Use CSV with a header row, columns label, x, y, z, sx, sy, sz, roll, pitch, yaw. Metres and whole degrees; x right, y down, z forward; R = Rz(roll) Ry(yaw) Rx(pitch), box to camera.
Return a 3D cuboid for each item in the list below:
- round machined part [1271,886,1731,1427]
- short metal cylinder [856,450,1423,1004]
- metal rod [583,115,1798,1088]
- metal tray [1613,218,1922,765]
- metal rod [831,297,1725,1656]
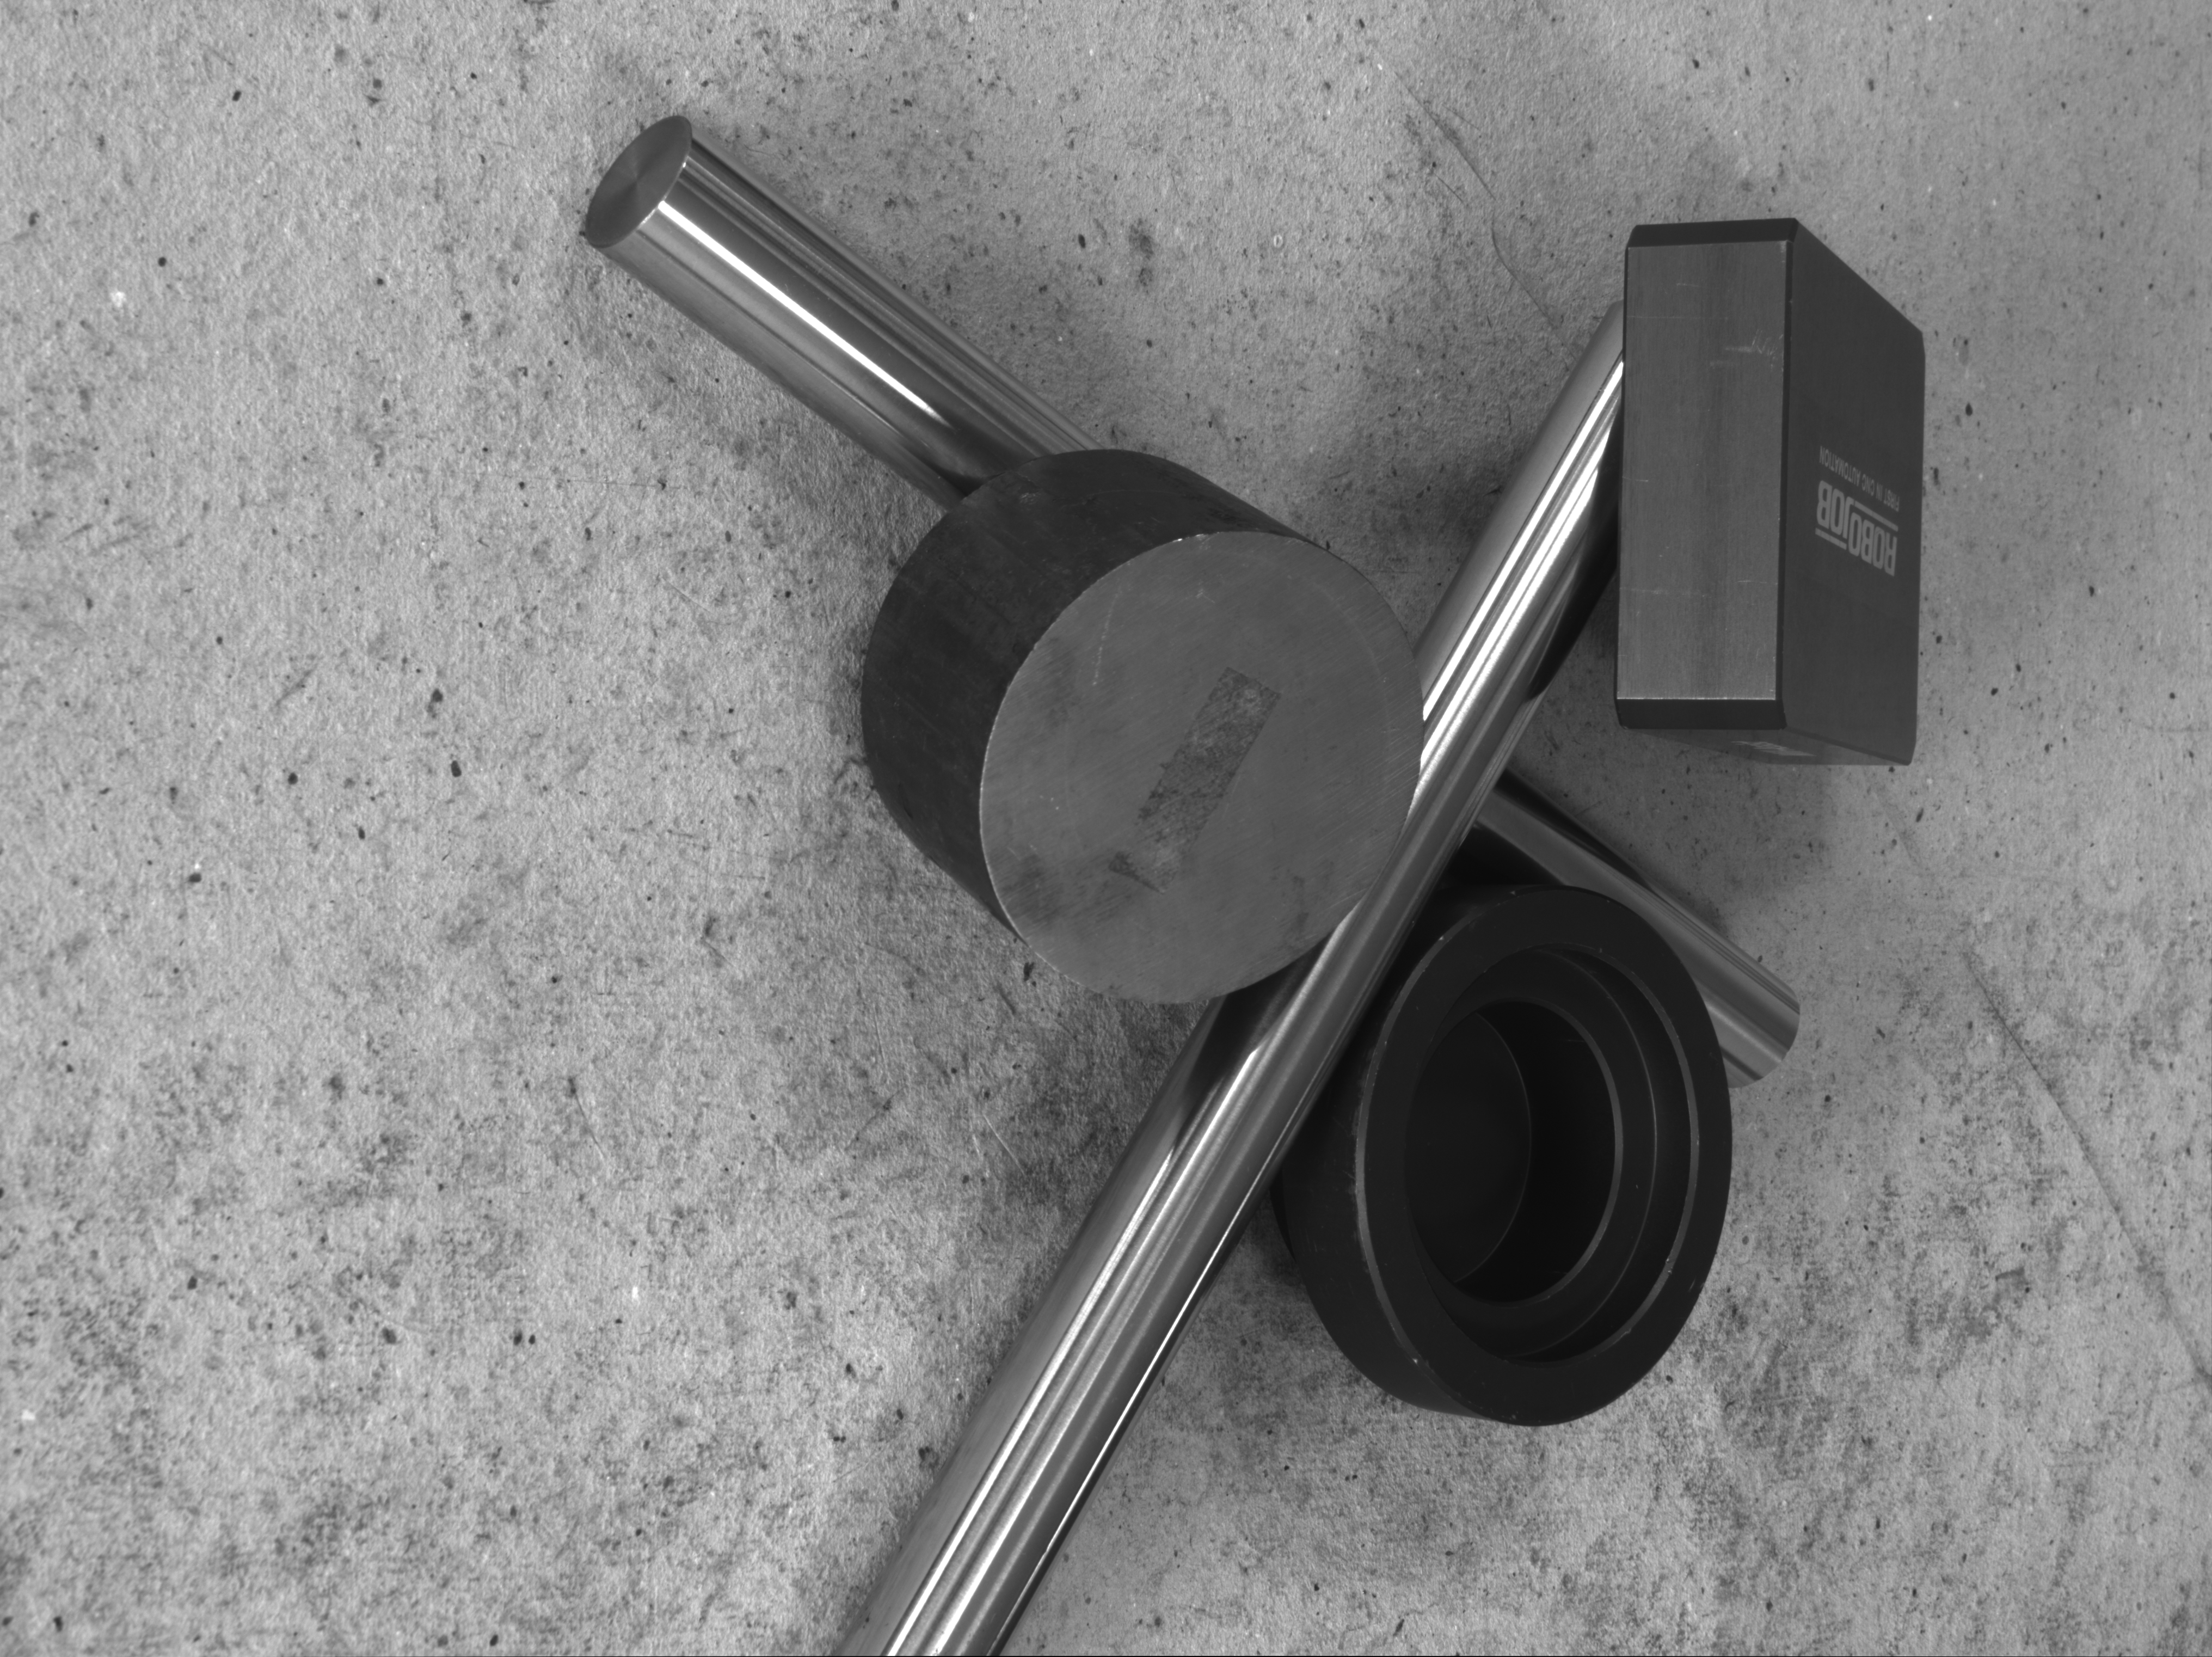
label,x,y,z,sx,sy,sz,roll,pitch,yaw
round machined part,0.068,0.059,0.682,0.098,0.042,0.098,0,90,-40
short metal cylinder,0.005,-0.017,0.608,0.080,0.050,0.080,-10,114,-23
metal rod,0.028,-0.030,0.661,0.301,0.025,0.025,35,68,-34
metal tray,0.129,-0.060,0.704,0.130,0.030,0.090,5,86,-67
metal rod,0.029,0.035,0.638,0.025,0.025,0.300,40,72,-32
